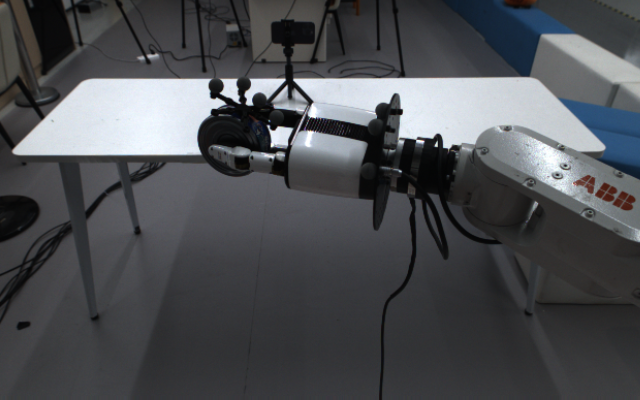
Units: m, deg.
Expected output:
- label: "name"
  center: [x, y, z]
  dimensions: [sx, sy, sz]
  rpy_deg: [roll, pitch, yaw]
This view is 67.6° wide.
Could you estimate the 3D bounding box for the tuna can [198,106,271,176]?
- label: "tuna can"
  center: [-0.103, -0.066, 0.594]
  dimensions: [0.085, 0.085, 0.034]
  rpy_deg: [12, 35, 14]
